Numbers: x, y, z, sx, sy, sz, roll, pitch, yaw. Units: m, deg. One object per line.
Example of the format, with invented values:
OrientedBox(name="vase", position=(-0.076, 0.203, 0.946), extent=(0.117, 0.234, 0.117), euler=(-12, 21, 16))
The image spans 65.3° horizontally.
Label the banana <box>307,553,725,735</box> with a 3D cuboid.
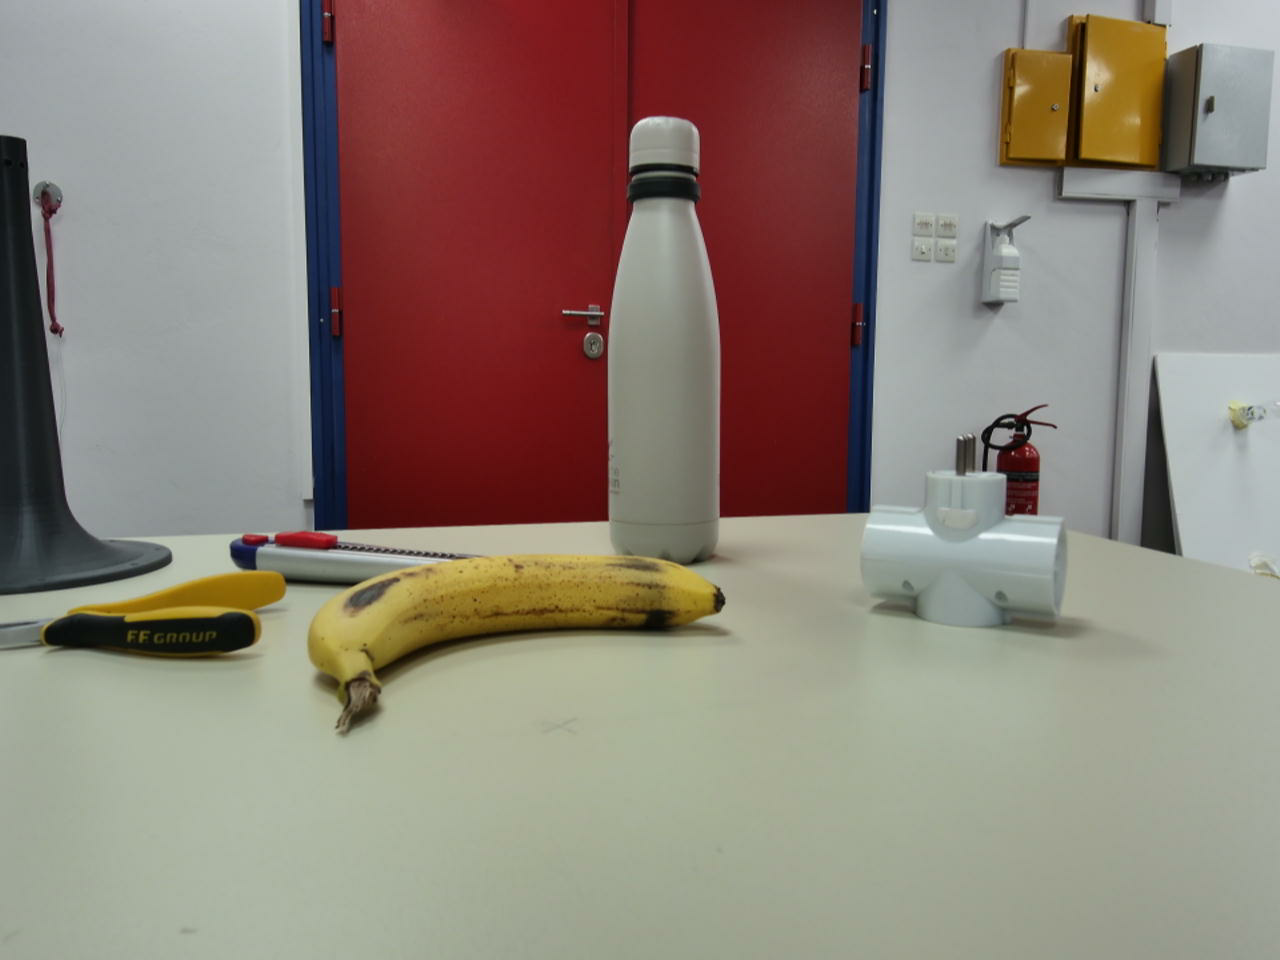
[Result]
OrientedBox(name="banana", position=(-0.059, 0.056, 0.432), extent=(0.186, 0.038, 0.097), euler=(-4, 6, -41))
